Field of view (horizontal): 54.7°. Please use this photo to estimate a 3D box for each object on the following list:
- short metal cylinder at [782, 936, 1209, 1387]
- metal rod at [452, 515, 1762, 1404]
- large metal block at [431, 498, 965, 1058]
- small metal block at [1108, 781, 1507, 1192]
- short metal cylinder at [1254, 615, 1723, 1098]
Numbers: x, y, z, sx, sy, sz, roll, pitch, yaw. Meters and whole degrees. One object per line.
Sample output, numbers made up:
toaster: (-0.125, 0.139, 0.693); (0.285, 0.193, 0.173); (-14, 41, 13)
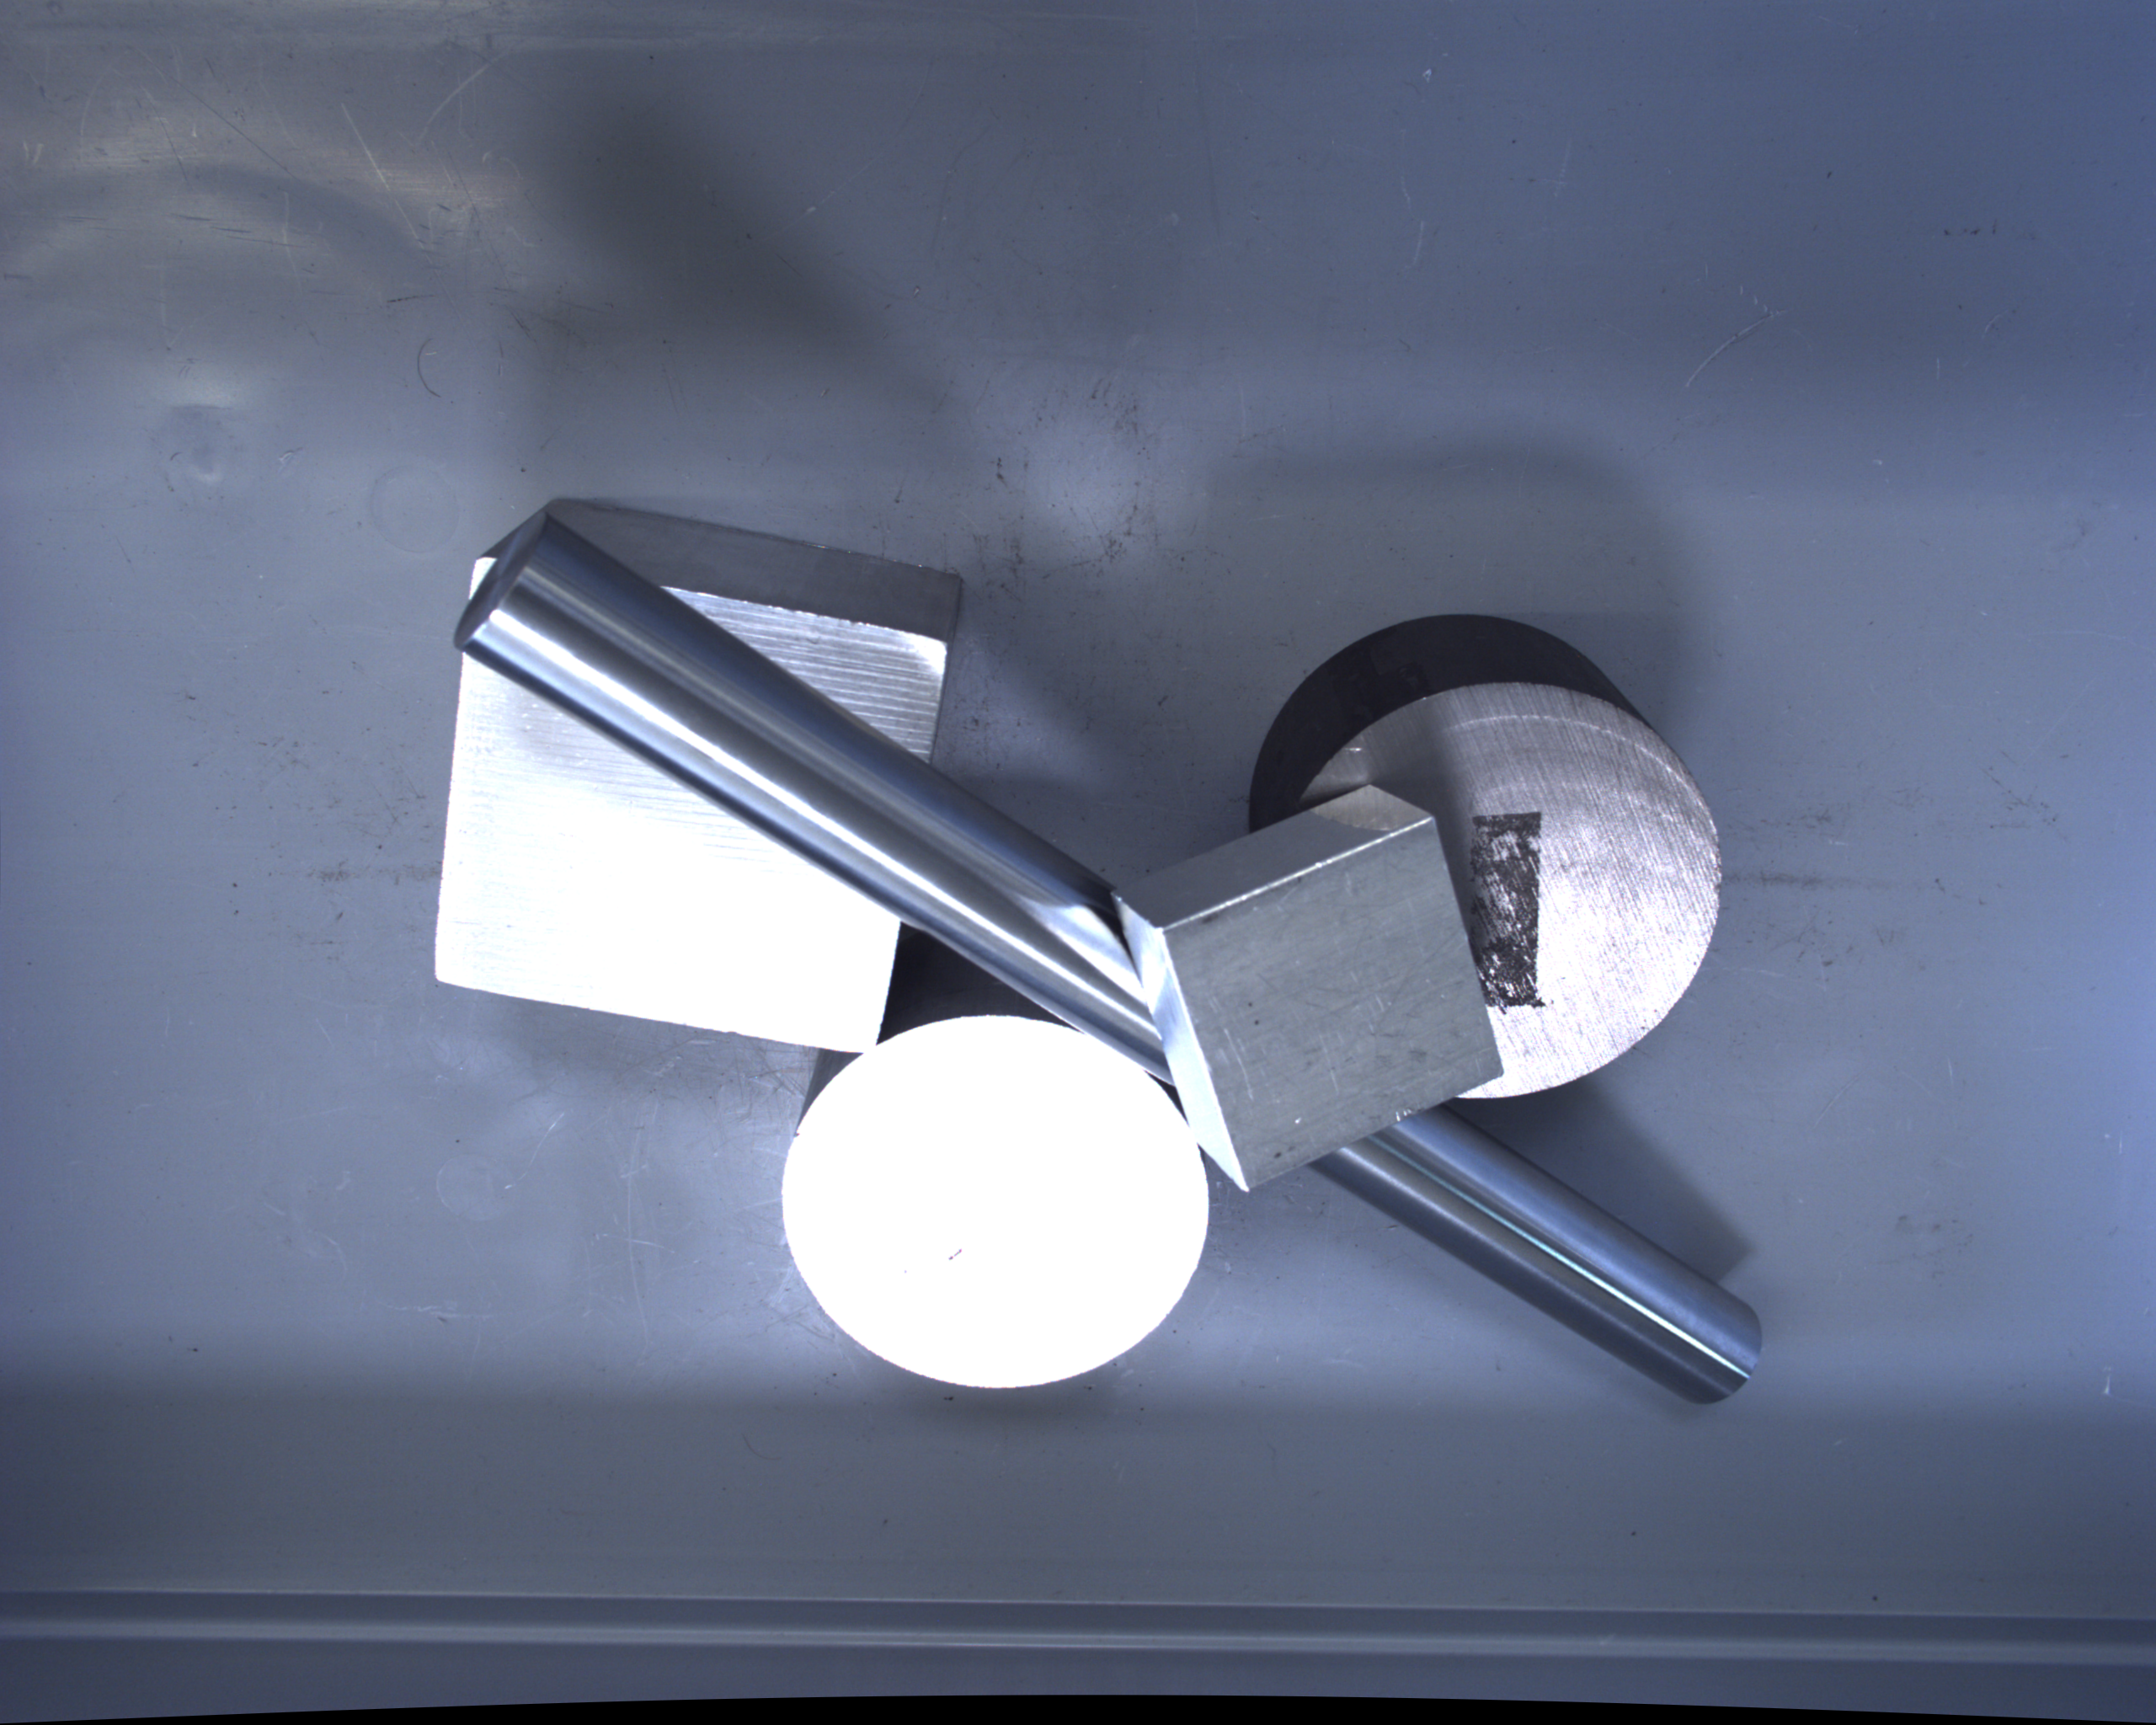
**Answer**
short metal cylinder: (-0.015, 0.056, 0.417); (0.081, 0.050, 0.079); (0, 110, 0)
metal rod: (0.025, 0.031, 0.384); (0.301, 0.025, 0.025); (33, 107, -27)
large metal block: (-0.069, -0.017, 0.387); (0.081, 0.050, 0.079); (10, 110, -4)
small metal block: (0.039, 0.020, 0.357); (0.050, 0.025, 0.050); (-23, 109, -11)
short metal cylinder: (0.075, -0.002, 0.396); (0.081, 0.050, 0.079); (0, 110, 0)
